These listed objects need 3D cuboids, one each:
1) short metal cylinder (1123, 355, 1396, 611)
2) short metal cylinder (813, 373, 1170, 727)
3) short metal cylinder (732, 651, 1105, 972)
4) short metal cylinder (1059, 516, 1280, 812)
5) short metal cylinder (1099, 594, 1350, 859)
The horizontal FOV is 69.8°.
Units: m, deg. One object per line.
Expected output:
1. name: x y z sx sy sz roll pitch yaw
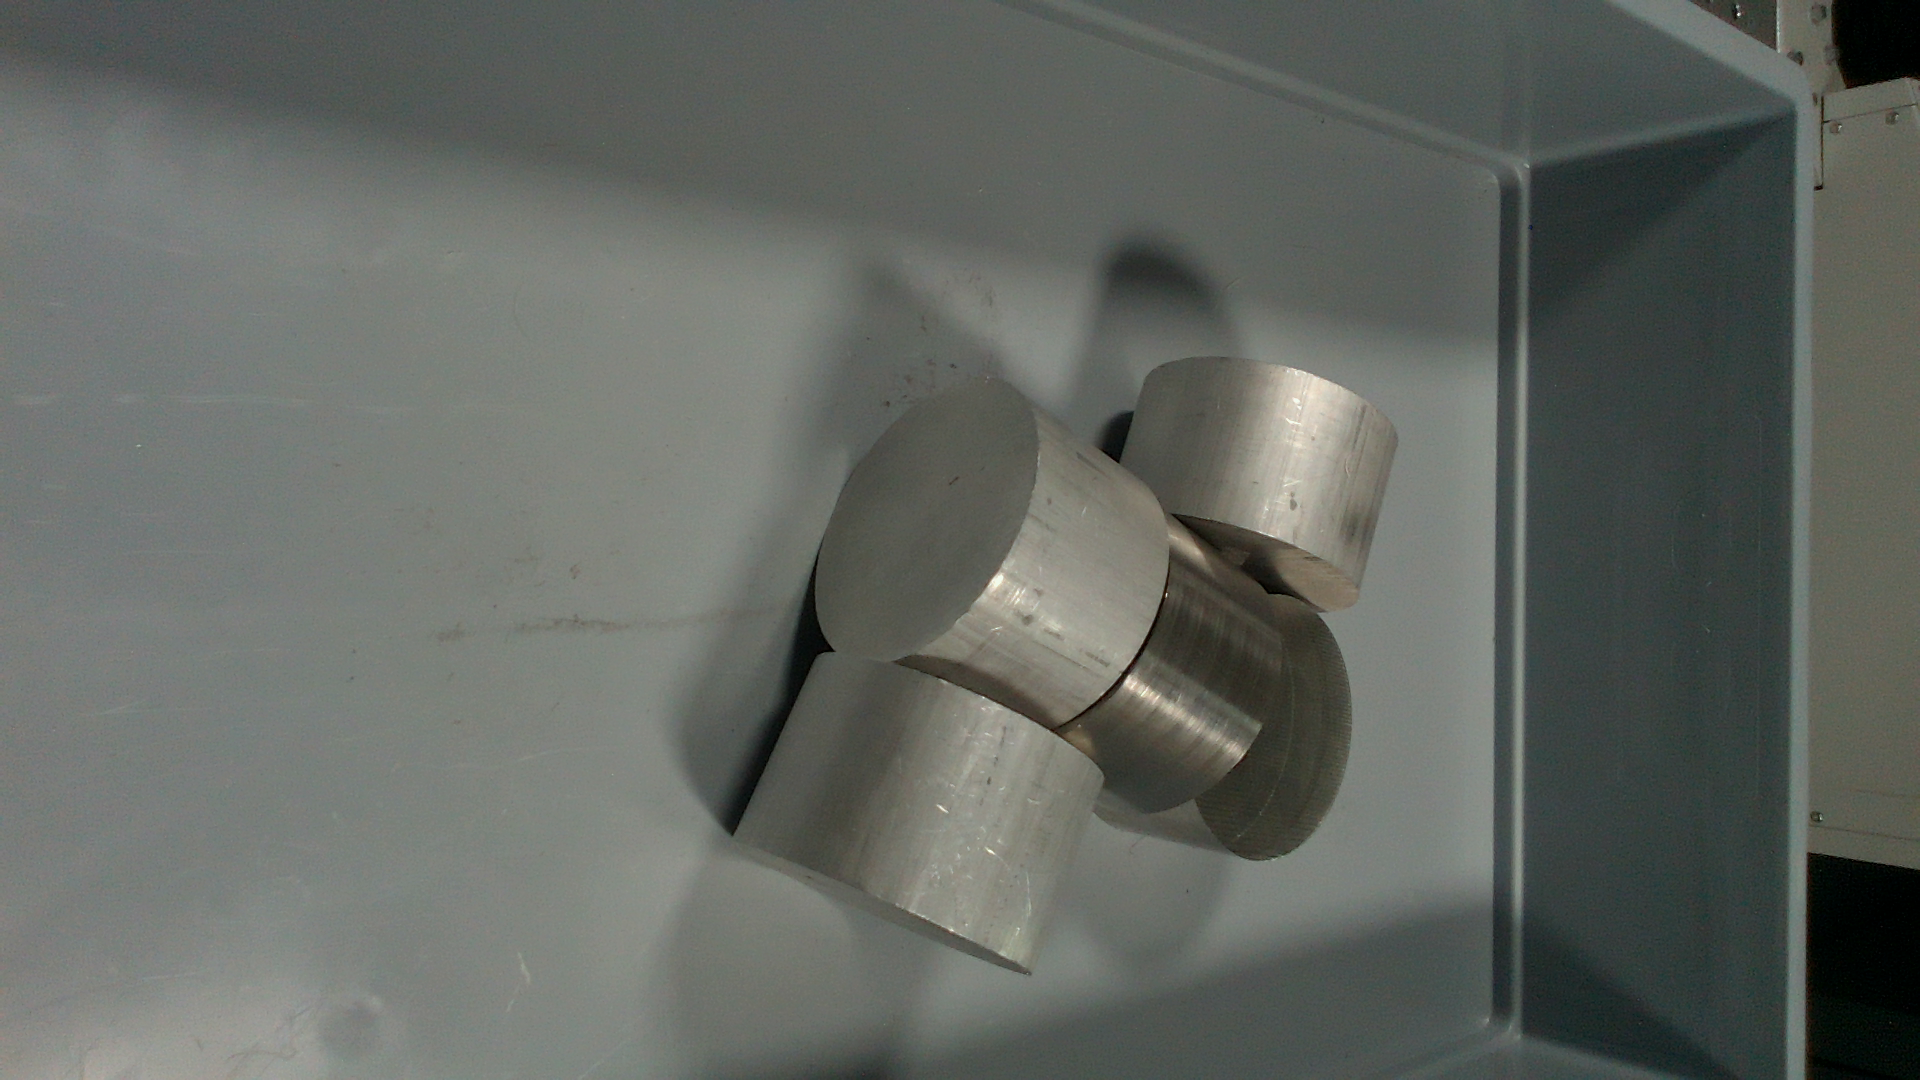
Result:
1. short metal cylinder: 0.088 -0.016 0.425 0.080 0.080 0.050 29 72 -36
2. short metal cylinder: 0.007 0.004 0.358 0.050 0.080 0.080 32 70 -35
3. short metal cylinder: -0.010 0.068 0.343 0.080 0.080 0.050 36 68 -34
4. short metal cylinder: 0.042 0.030 0.387 0.050 0.080 0.080 33 70 -35
5. short metal cylinder: 0.079 0.056 0.436 0.080 0.050 0.080 0 90 -40
